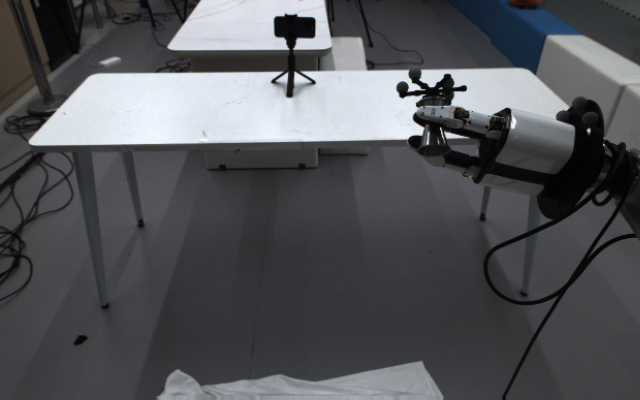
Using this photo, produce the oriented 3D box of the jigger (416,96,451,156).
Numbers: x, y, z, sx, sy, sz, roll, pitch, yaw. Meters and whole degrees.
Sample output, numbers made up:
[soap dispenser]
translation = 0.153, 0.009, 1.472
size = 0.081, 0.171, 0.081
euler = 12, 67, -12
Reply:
[jigger]
translation = 0.148, -0.099, 0.637
size = 0.043, 0.043, 0.071
euler = 3, 76, 1
